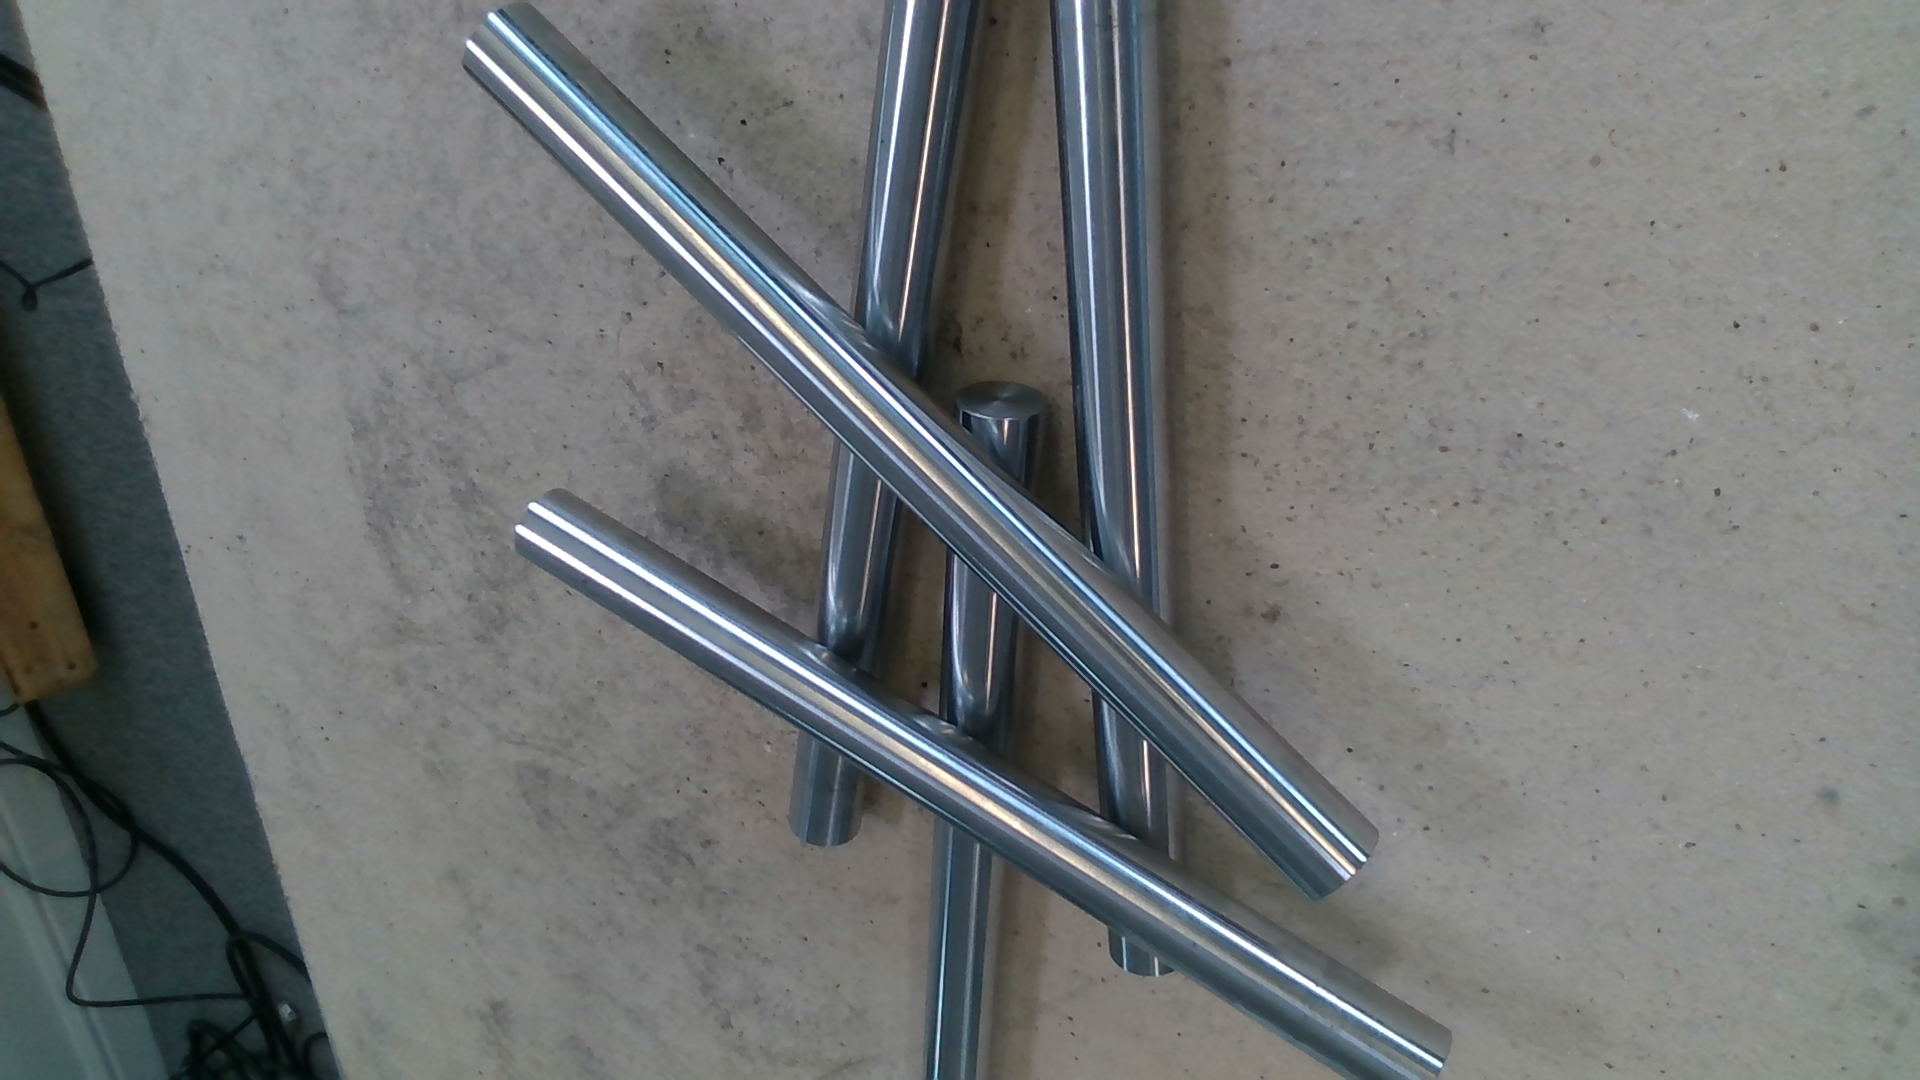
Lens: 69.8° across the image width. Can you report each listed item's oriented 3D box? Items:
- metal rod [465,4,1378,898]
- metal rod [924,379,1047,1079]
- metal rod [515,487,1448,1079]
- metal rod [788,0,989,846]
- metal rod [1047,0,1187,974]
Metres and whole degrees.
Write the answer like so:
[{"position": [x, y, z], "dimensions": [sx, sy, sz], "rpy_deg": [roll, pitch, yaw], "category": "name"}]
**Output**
[{"position": [-0.012, -0.025, 0.351], "dimensions": [0.300, 0.025, 0.025], "rpy_deg": [44, 129, 3], "category": "metal rod"}, {"position": [0.004, 0.093, 0.438], "dimensions": [0.025, 0.025, 0.301], "rpy_deg": [17, 123, 23], "category": "metal rod"}, {"position": [-0.005, 0.066, 0.396], "dimensions": [0.300, 0.025, 0.025], "rpy_deg": [30, 127, 15], "category": "metal rod"}, {"position": [-0.024, -0.029, 0.388], "dimensions": [0.025, 0.025, 0.301], "rpy_deg": [24, 125, 19], "category": "metal rod"}, {"position": [0.043, -0.011, 0.356], "dimensions": [0.025, 0.025, 0.301], "rpy_deg": [9, 119, 28], "category": "metal rod"}]
